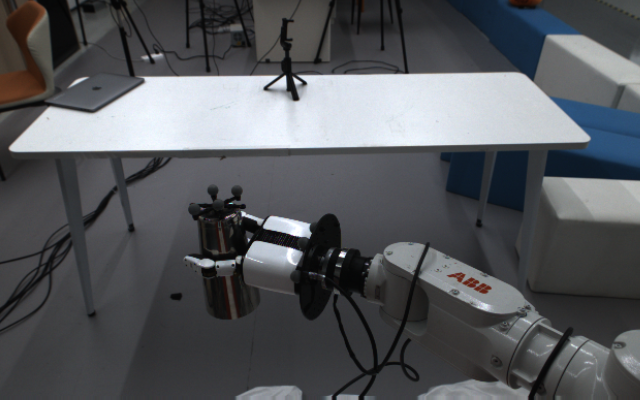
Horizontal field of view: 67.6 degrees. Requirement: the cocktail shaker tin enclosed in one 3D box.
[{"bbox_3d":[-0.148,0.093,0.771,0.093,0.170,0.093,-3,25,1],"label":"cocktail shaker tin"}]
